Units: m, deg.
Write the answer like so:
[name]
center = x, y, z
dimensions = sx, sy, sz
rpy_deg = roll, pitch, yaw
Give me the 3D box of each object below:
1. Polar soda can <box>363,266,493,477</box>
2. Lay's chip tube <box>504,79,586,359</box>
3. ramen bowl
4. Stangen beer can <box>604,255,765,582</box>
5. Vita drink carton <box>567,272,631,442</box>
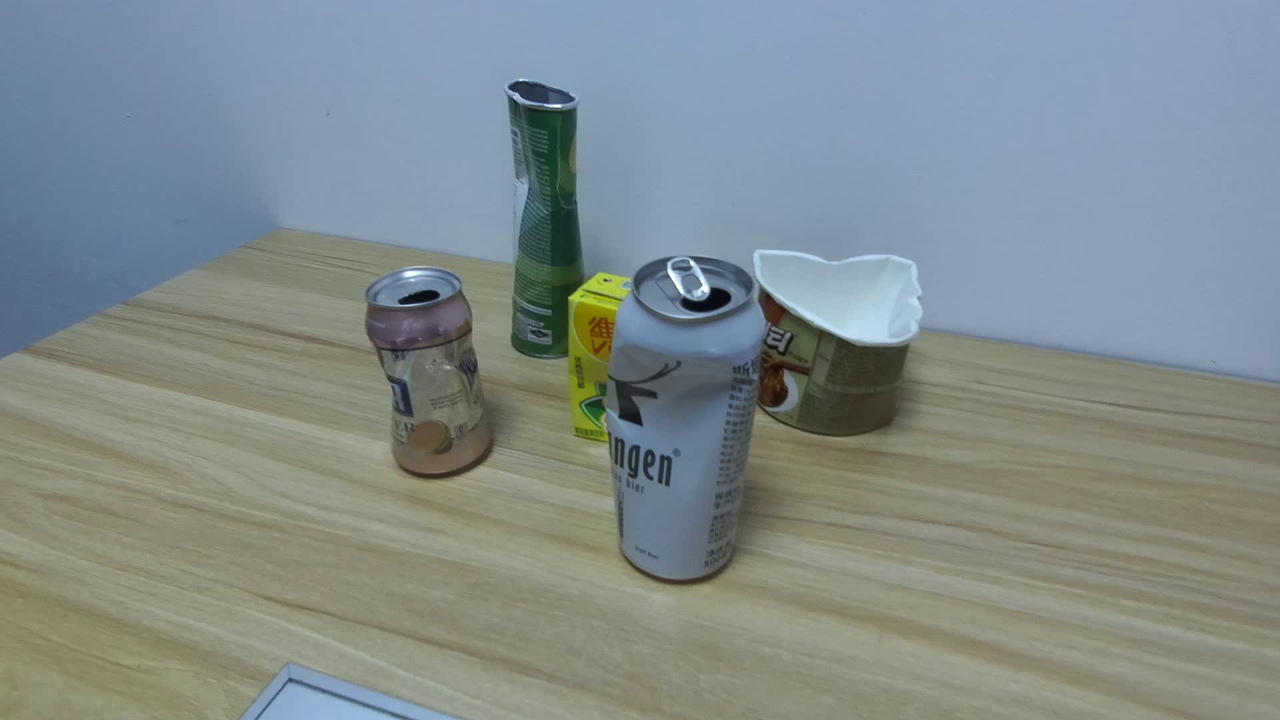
[Polar soda can]
center = -0.132, 0.011, 0.440
dimensions = 0.067, 0.122, 0.074
rpy_deg = 15, 34, 24
[Lay's chip tube]
center = -0.071, -0.100, 0.537
dimensions = 0.074, 0.199, 0.069
rpy_deg = 14, 34, 20
[ramen bowl]
center = 0.137, -0.011, 0.497
dimensions = 0.113, 0.097, 0.133
rpy_deg = 3, 32, 3
[Stangen beer can]
center = 0.021, 0.035, 0.353
dimensions = 0.070, 0.173, 0.070
rpy_deg = -12, 34, -17
[Vita drink carton]
center = -0.004, 0.006, 0.458
dimensions = 0.076, 0.109, 0.043
rpy_deg = 17, 40, 22
